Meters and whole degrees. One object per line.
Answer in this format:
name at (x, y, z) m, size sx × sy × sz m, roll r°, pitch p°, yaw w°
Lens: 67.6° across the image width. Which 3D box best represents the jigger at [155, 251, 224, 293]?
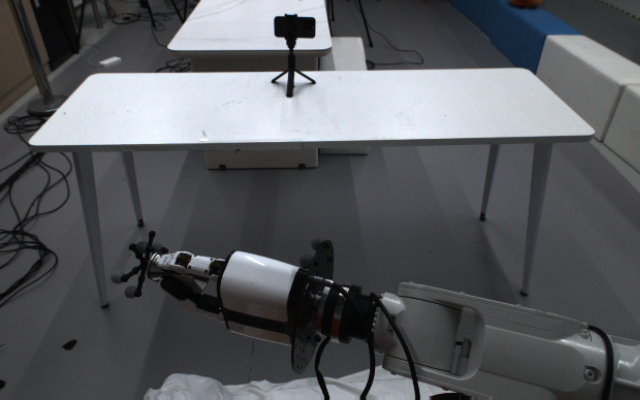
jigger at (-0.177, 0.089, 0.624) m, size 0.071 × 0.043 × 0.043 m, roll 10°, pitch 35°, yaw 16°
